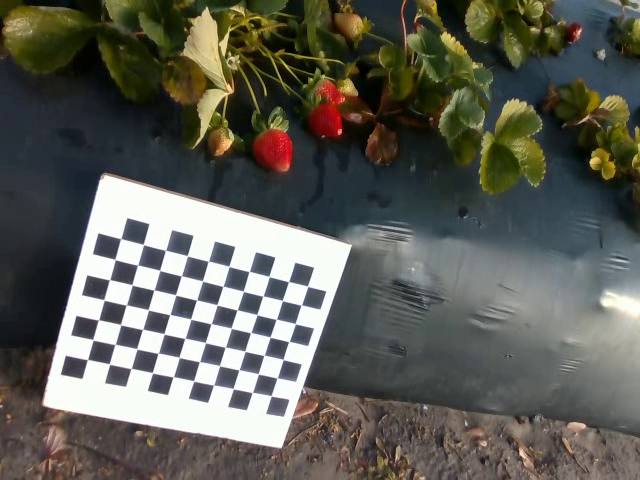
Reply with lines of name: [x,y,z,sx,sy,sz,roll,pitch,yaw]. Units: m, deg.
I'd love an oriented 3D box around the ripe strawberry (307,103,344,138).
ripe strawberry: [0.009,-0.142,0.743,0.055,0.044,0.042,46,3,33]

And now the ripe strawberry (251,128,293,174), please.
ripe strawberry: [-0.051,-0.101,0.698,0.050,0.065,0.049,-23,-38,-4]
